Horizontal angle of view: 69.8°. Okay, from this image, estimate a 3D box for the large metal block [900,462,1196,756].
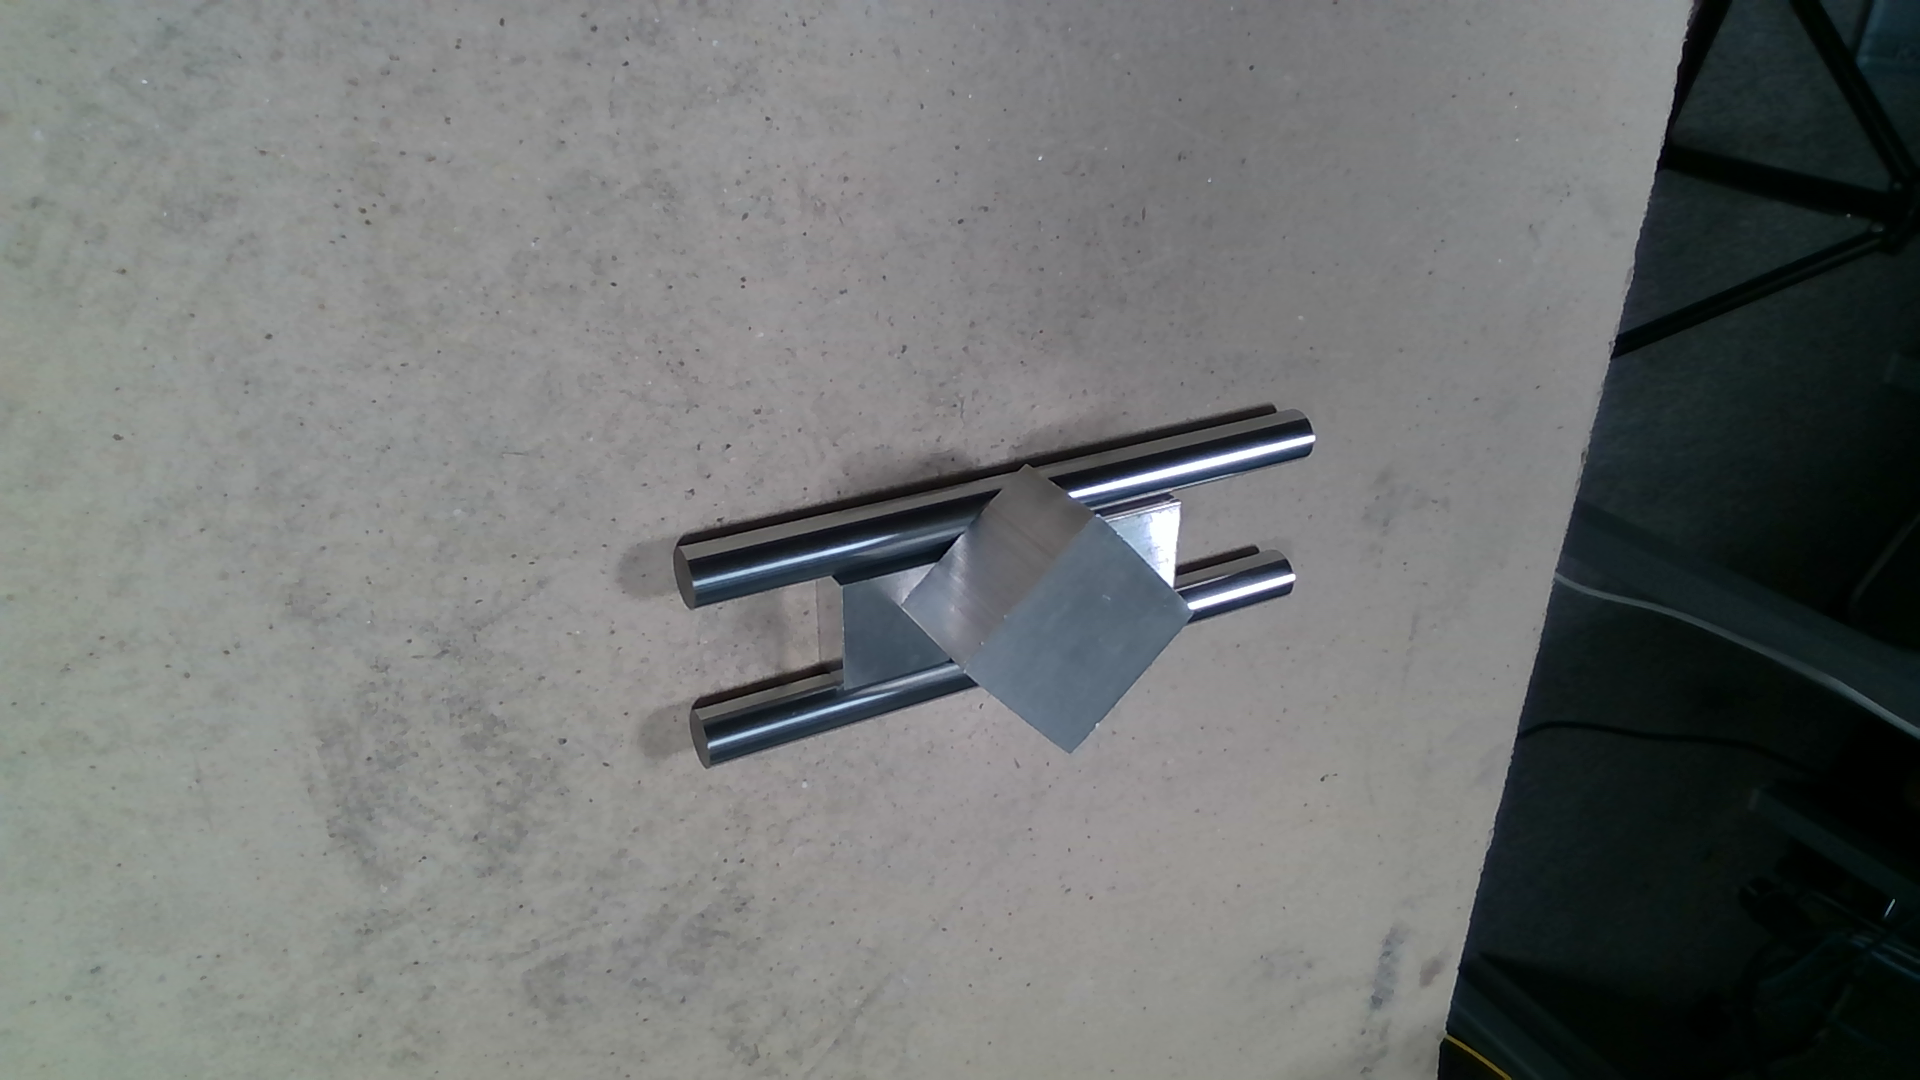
[{"bbox_3d":[0.037,0.029,0.568,0.080,0.050,0.080,-48,129,0],"label":"large metal block"}]

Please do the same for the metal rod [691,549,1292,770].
[{"bbox_3d":[0.026,0.049,0.624,0.300,0.025,0.025,-14,121,-25],"label":"metal rod"}]

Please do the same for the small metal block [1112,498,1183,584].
[{"bbox_3d":[0.071,0.005,0.626,0.050,0.025,0.050,-14,121,-25],"label":"small metal block"}]

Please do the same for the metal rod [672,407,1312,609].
[{"bbox_3d":[0.026,-0.018,0.588,0.300,0.025,0.025,-14,121,-25],"label":"metal rod"}]

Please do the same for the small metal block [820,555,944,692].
[{"bbox_3d":[-0.031,0.030,0.577,0.050,0.025,0.050,-14,121,-25],"label":"small metal block"}]
